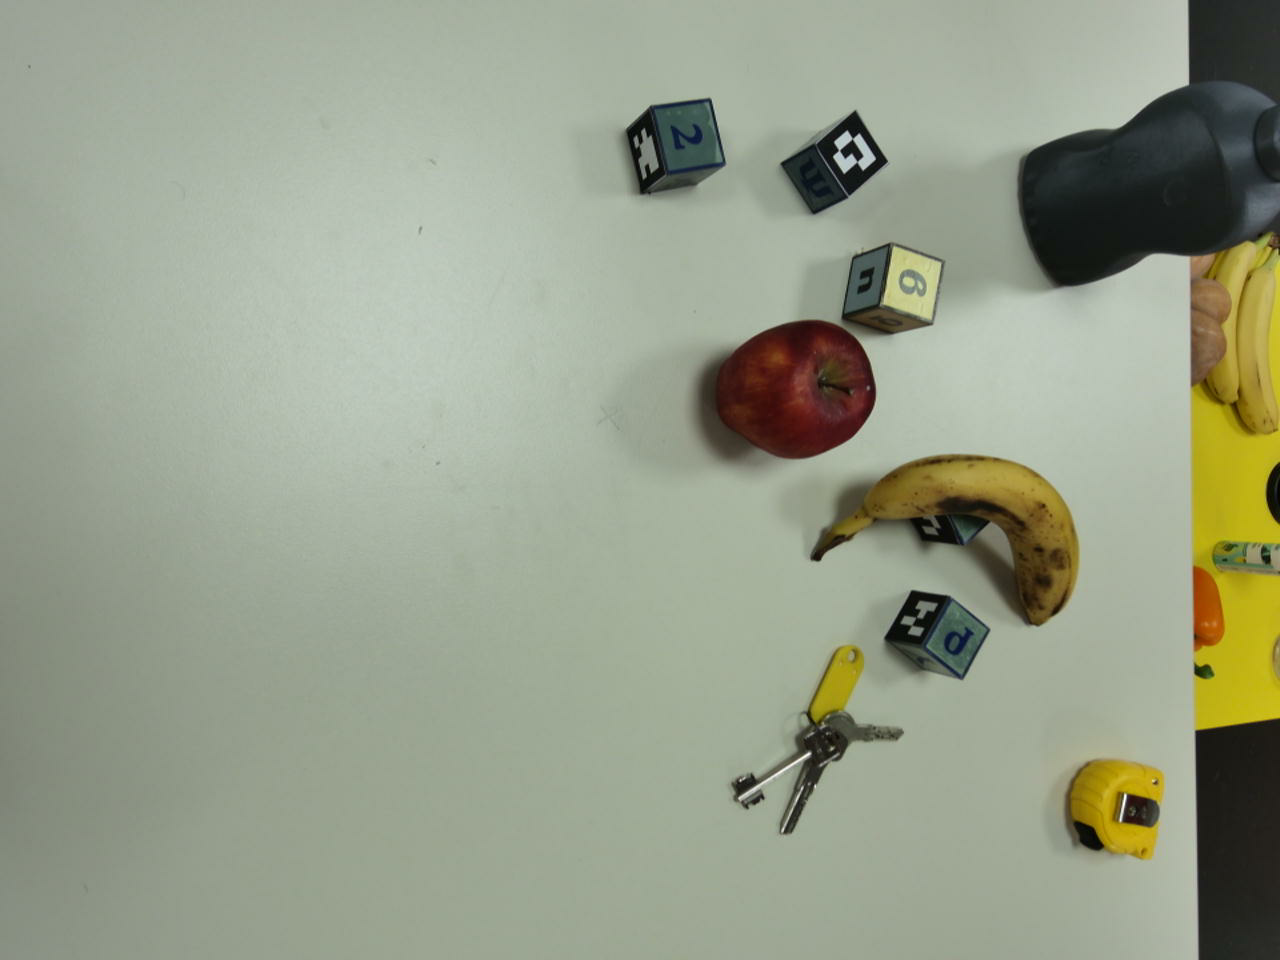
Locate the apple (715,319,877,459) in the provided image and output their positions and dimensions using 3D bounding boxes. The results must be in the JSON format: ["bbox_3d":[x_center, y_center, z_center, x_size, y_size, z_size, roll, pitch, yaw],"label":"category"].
[{"bbox_3d":[0.089,-0.050,0.555,0.083,0.090,0.083,0,90,-22],"label":"apple"}]
